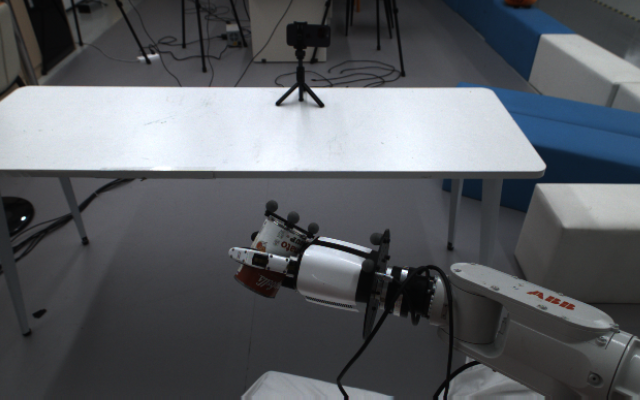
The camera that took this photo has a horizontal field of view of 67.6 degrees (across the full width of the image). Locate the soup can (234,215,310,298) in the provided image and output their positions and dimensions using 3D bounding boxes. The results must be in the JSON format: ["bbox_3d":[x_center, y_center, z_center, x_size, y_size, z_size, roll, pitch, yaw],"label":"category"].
[{"bbox_3d":[-0.070,0.083,0.703,0.067,0.101,0.067,28,-3,2],"label":"soup can"}]
